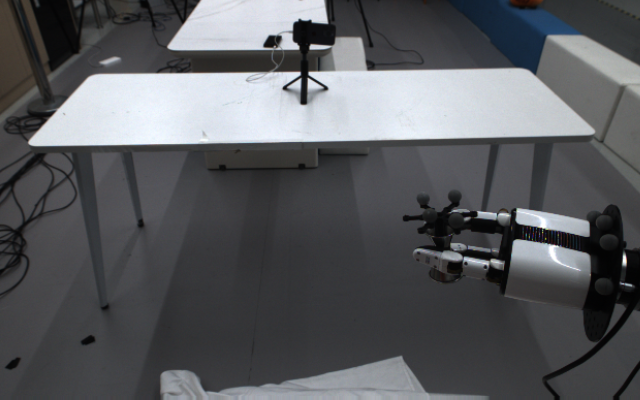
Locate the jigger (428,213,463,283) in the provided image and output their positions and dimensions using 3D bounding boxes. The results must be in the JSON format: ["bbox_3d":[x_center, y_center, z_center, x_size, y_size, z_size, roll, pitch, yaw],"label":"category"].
[{"bbox_3d":[0.158,0.064,0.621,0.043,0.071,0.043,-11,23,5],"label":"jigger"}]
